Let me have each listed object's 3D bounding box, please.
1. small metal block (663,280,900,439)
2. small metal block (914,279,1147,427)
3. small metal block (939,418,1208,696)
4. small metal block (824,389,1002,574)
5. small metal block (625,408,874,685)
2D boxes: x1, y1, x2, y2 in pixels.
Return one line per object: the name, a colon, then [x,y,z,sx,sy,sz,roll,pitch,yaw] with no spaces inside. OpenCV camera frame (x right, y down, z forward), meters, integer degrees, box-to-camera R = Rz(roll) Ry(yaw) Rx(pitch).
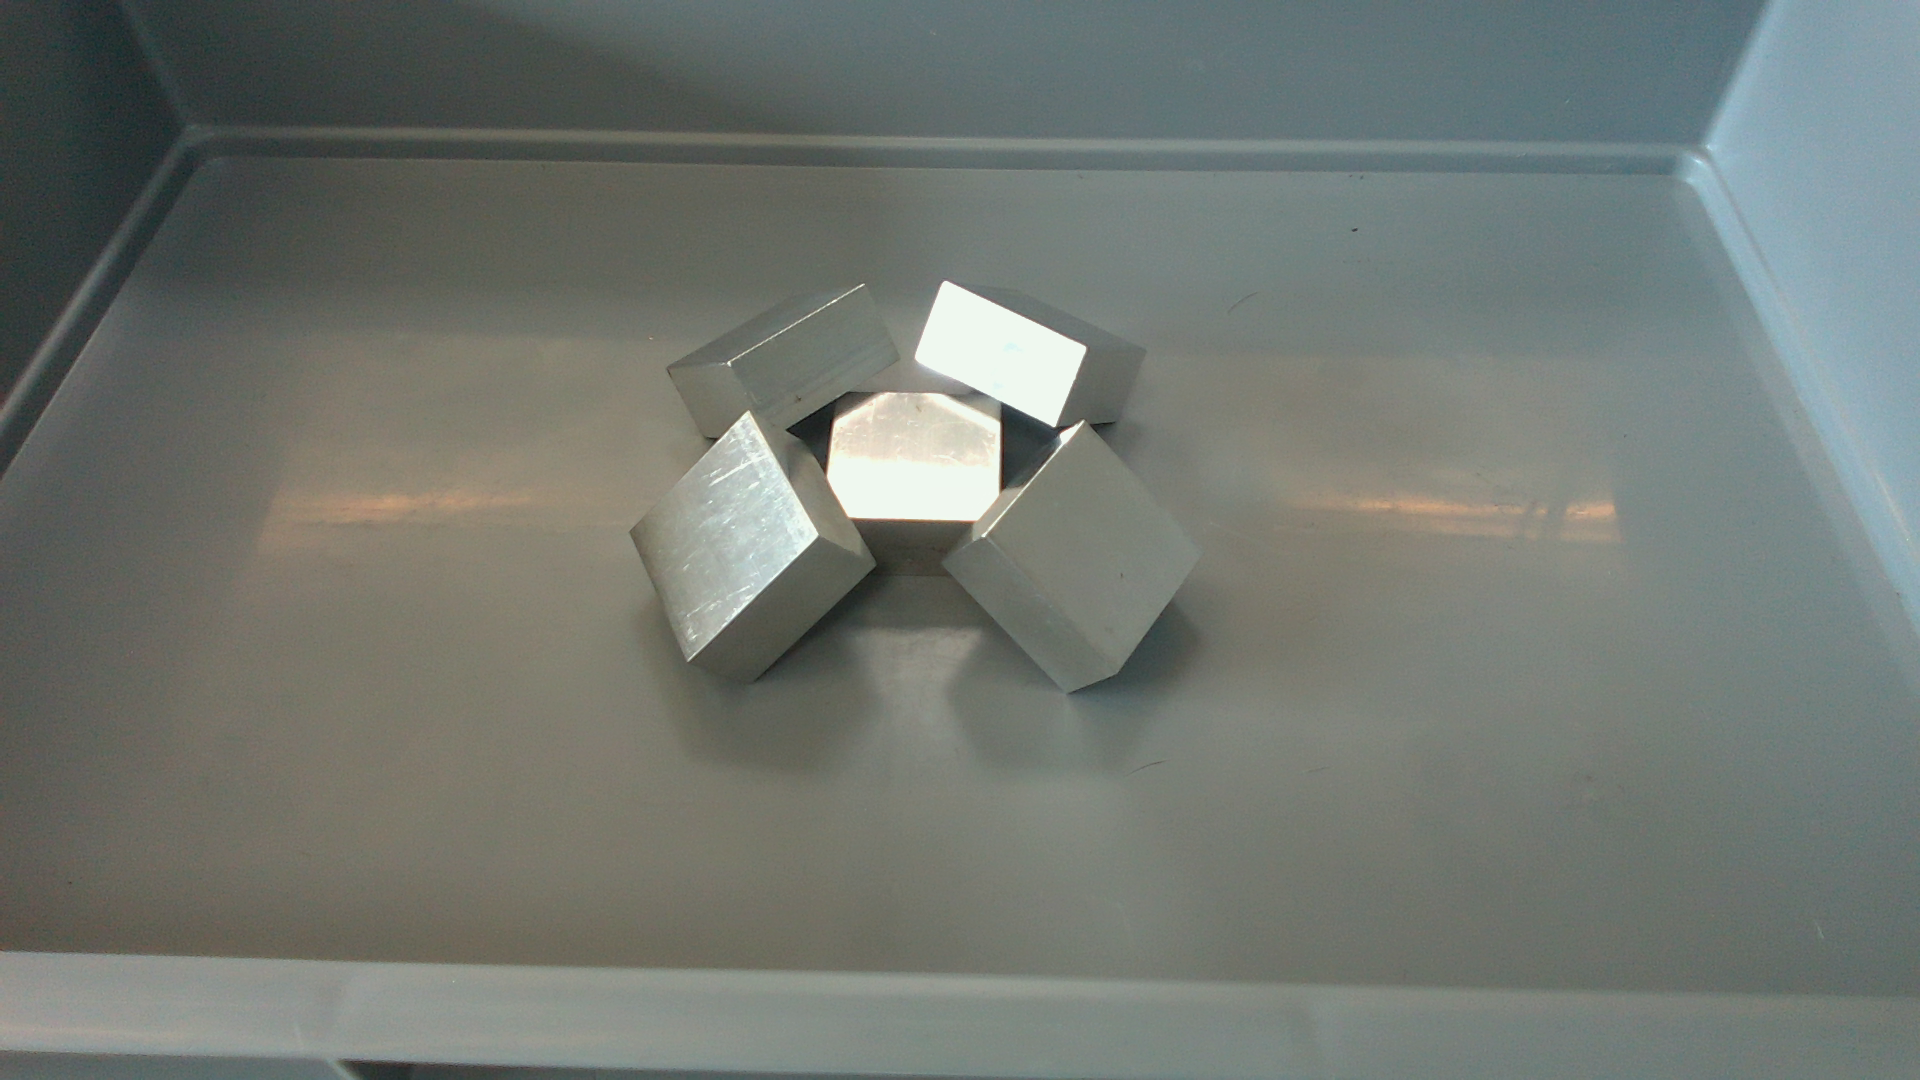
small metal block: [-0.055,-0.054,0.419,0.050,0.025,0.050,-35,21,-25]
small metal block: [0.023,-0.057,0.422,0.050,0.025,0.050,28,18,22]
small metal block: [0.031,0.005,0.371,0.050,0.025,0.050,46,57,-8]
small metal block: [-0.013,-0.018,0.404,0.050,0.025,0.050,1,50,1]
small metal block: [-0.058,0.002,0.373,0.050,0.025,0.050,-43,53,14]
